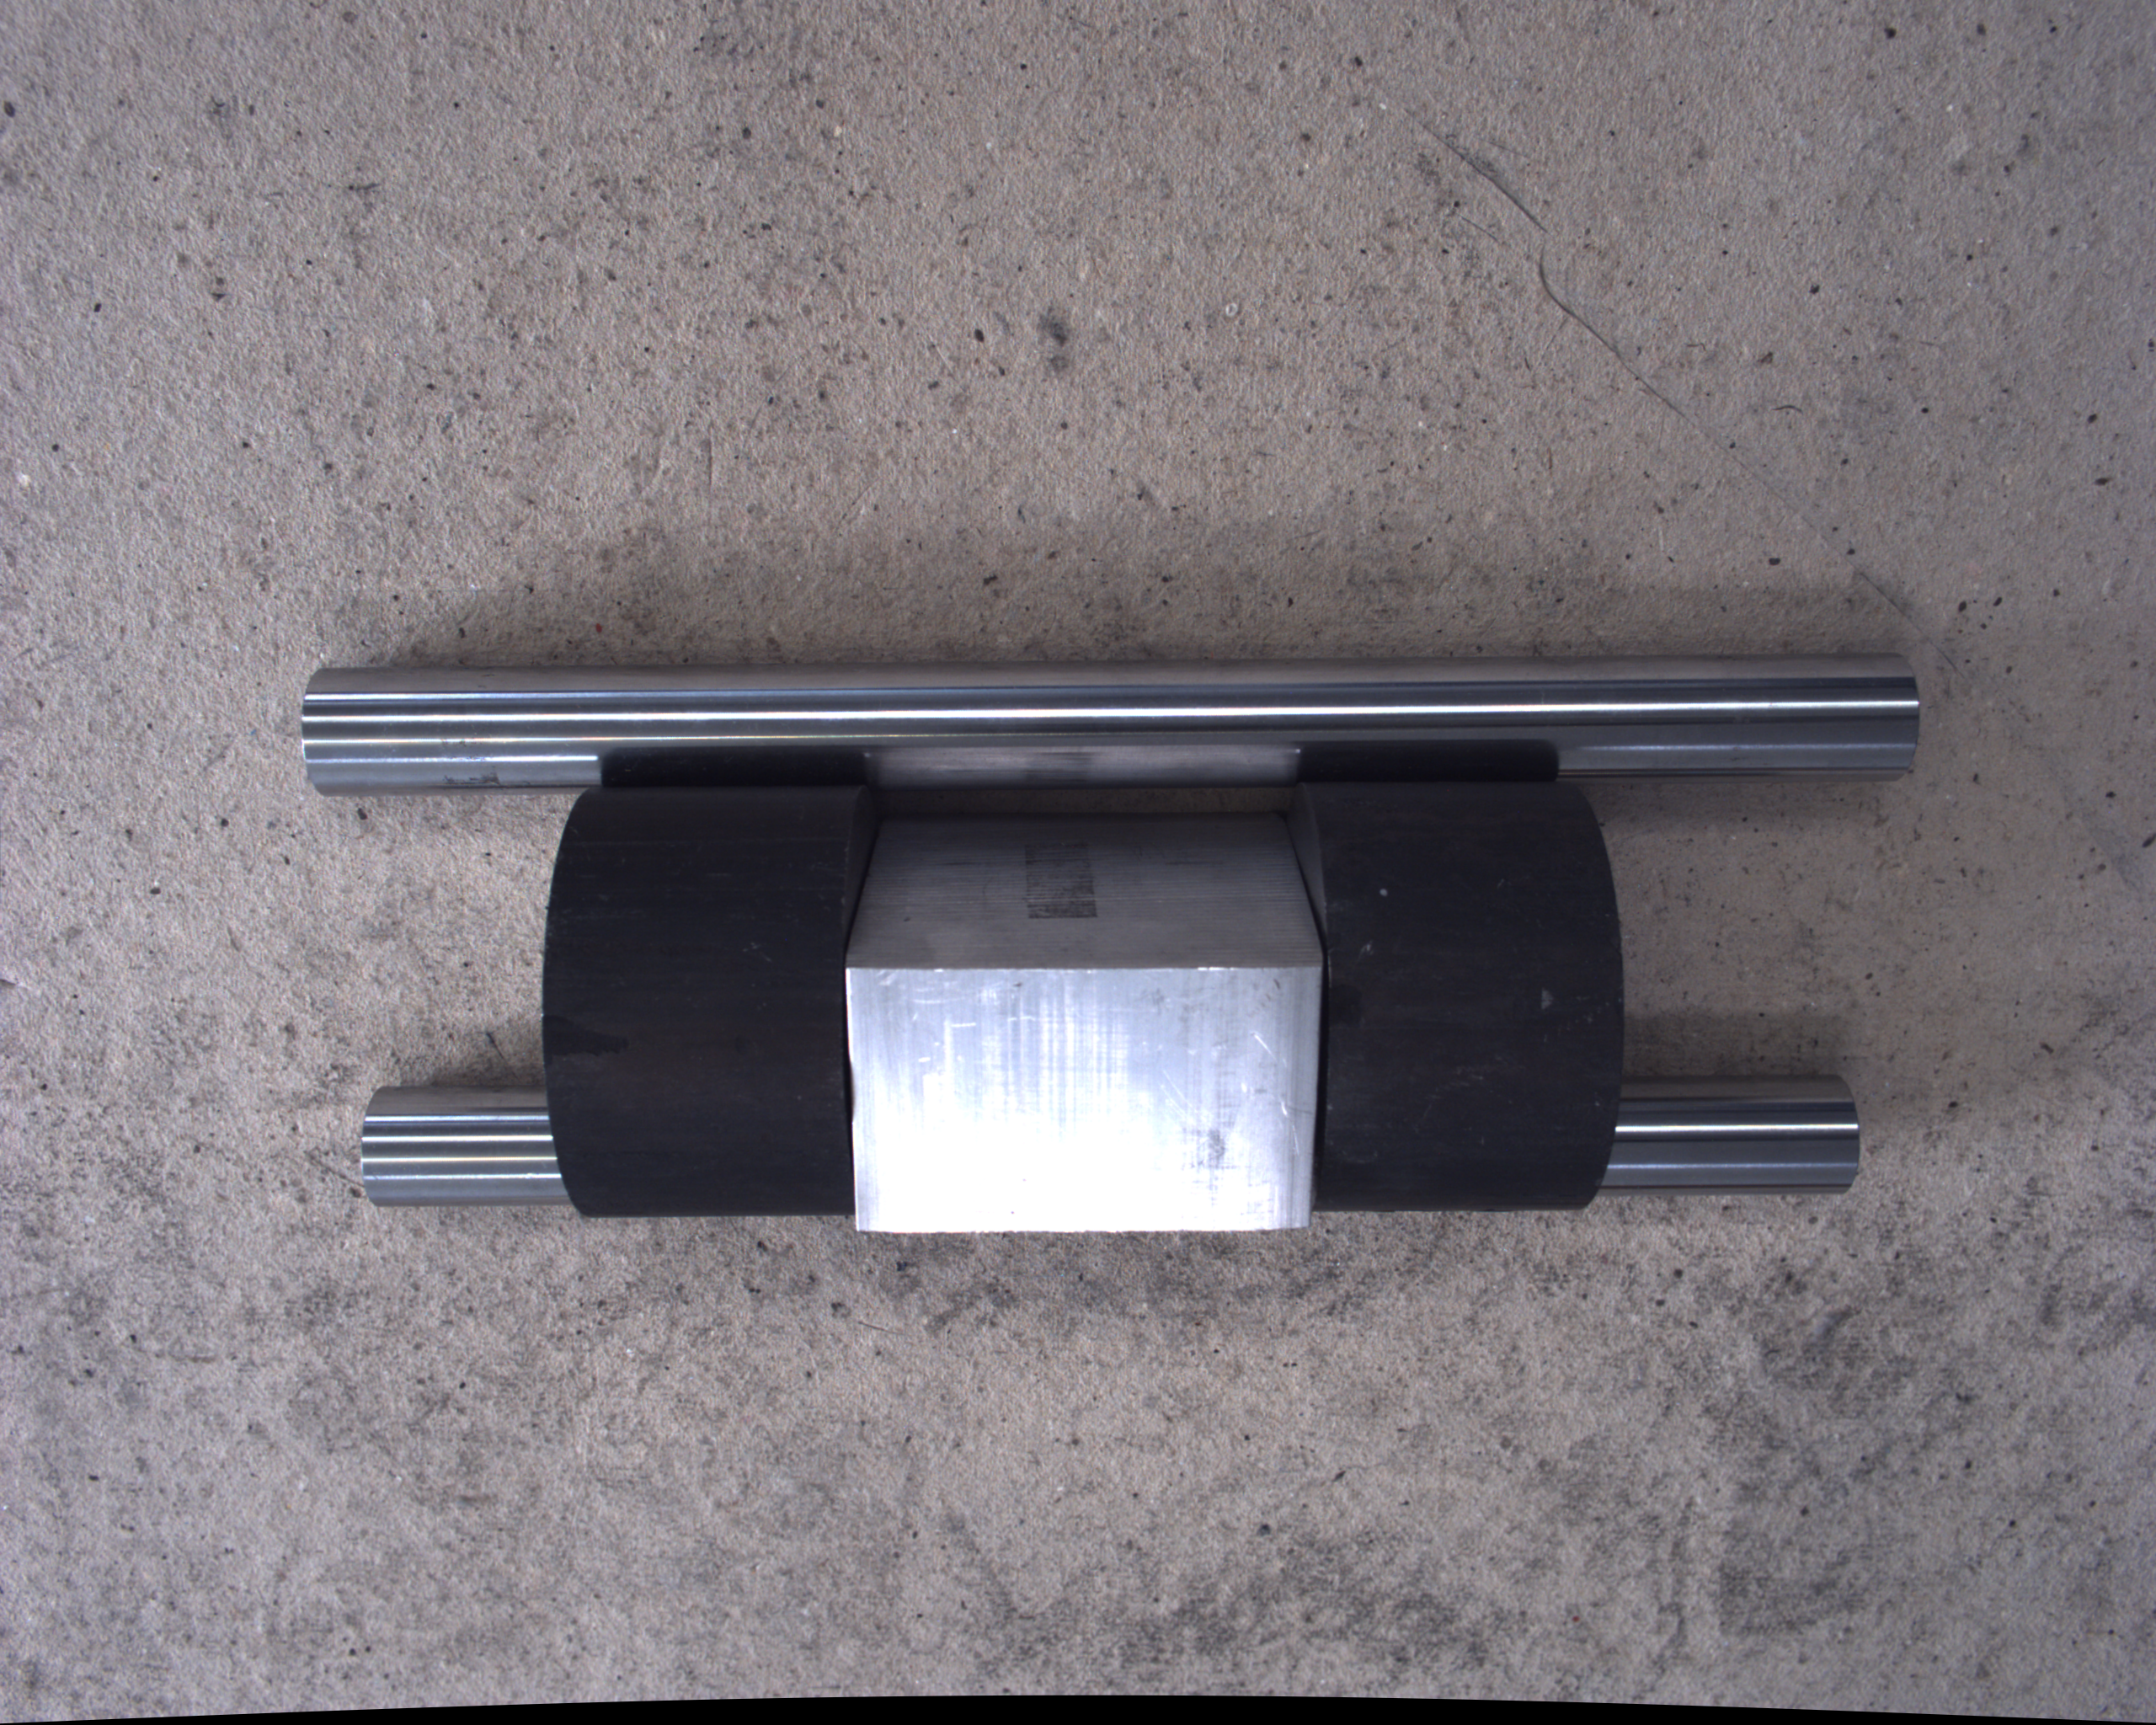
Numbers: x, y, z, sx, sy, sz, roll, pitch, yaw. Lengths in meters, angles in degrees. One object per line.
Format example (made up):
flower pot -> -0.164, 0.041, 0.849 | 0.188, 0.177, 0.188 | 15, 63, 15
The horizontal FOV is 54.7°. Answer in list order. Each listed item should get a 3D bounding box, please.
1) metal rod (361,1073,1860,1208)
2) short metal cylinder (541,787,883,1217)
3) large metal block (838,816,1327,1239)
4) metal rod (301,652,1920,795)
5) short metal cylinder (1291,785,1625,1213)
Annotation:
metal rod -> 0.007, 0.058, 0.432 | 0.302, 0.025, 0.025 | -1, 110, 0
short metal cylinder -> -0.065, 0.026, 0.390 | 0.050, 0.080, 0.079 | -1, 110, 0
large metal block -> 0.001, 0.028, 0.389 | 0.081, 0.080, 0.050 | 0, 110, 0
metal rod -> 0.007, -0.027, 0.401 | 0.302, 0.025, 0.025 | -1, 110, 0
short metal cylinder -> 0.067, 0.025, 0.391 | 0.050, 0.080, 0.079 | -1, 110, 0
